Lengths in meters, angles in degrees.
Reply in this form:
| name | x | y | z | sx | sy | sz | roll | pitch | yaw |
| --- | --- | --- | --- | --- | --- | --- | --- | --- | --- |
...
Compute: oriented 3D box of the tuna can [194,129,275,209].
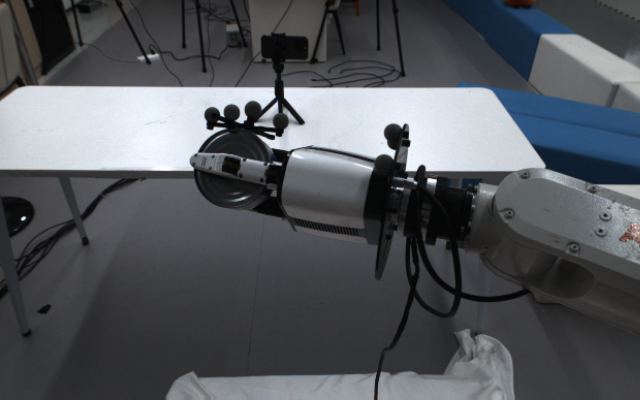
| name | x | y | z | sx | sy | sz | roll | pitch | yaw |
| --- | --- | --- | --- | --- | --- | --- | --- | --- | --- |
| tuna can | -0.088 | -0.033 | 0.524 | 0.085 | 0.085 | 0.034 | 11 | -5 | 13 |
